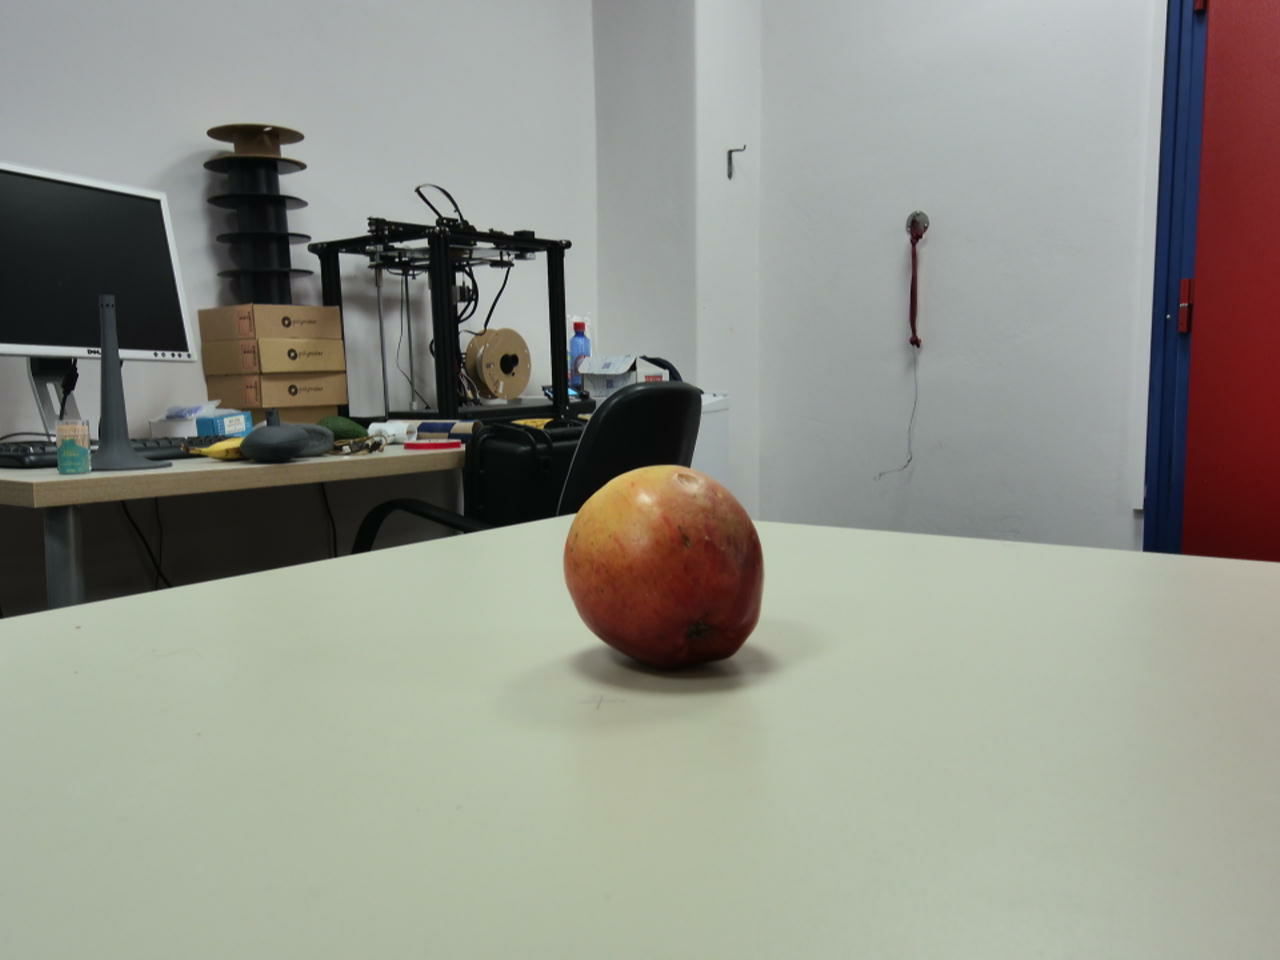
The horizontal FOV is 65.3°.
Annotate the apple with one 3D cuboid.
[{"bbox_3d":[0.011,0.037,0.440,0.086,0.084,0.093,0,3,1],"label":"apple"}]
